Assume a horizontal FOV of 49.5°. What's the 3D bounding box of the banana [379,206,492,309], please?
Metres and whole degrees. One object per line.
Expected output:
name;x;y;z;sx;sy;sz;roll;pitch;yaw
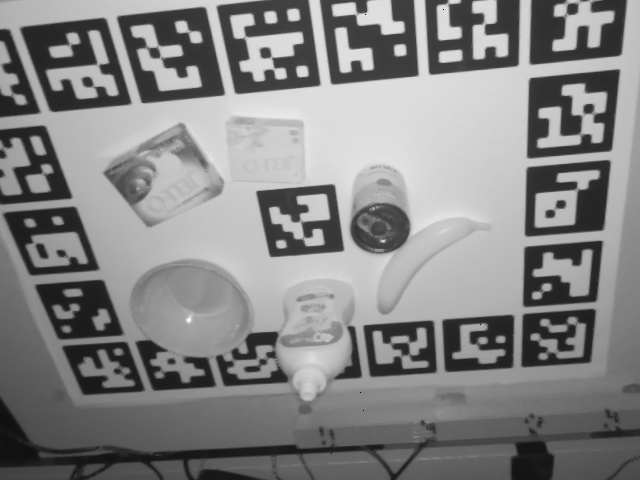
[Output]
banana;0.130;0.018;0.889;0.075;0.039;0.194;28;119;-24

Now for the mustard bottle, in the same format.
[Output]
mustard bottle;-0.016;0.110;0.848;0.096;0.193;0.058;-4;123;7

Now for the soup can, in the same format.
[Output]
soup can;0.072;-0.053;0.802;0.068;0.103;0.067;2;123;5

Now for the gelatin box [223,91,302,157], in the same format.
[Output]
gelatin box;-0.066;-0.135;0.812;0.089;0.030;0.072;1;118;2

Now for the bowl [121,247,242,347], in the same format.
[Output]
bowl;-0.181;0.065;0.926;0.162;0.055;0.160;0;121;1

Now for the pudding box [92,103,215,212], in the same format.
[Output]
pudding box;-0.198;-0.098;0.835;0.113;0.039;0.090;-26;111;17
